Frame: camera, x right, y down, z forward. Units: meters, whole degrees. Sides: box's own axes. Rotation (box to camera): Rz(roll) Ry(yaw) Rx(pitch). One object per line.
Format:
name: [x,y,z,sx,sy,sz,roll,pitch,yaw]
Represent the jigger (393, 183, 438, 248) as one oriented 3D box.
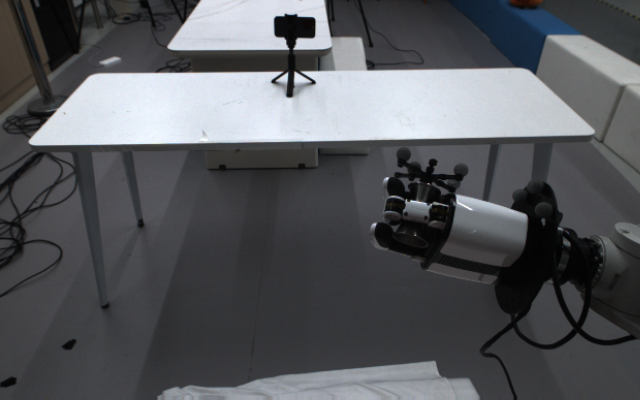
jigger: [0.118,0.017,0.579,0.043,0.043,0.071,13,73,15]
